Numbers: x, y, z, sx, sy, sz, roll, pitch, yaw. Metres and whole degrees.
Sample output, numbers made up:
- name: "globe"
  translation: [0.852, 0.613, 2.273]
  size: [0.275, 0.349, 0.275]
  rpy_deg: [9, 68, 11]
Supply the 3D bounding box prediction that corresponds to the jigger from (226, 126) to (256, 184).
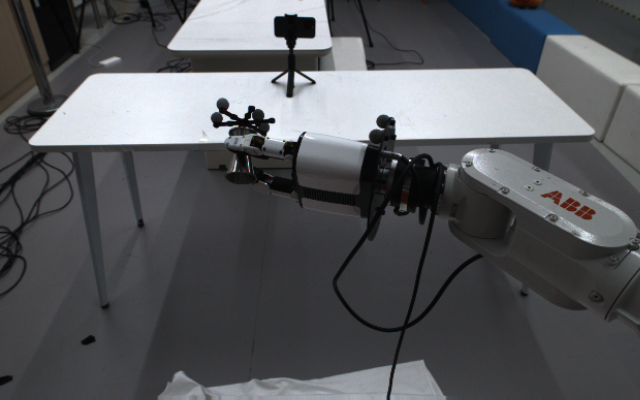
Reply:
- name: "jigger"
  translation: [-0.107, -0.062, 0.658]
  size: [0.043, 0.043, 0.071]
  rpy_deg: [1, 70, -2]
